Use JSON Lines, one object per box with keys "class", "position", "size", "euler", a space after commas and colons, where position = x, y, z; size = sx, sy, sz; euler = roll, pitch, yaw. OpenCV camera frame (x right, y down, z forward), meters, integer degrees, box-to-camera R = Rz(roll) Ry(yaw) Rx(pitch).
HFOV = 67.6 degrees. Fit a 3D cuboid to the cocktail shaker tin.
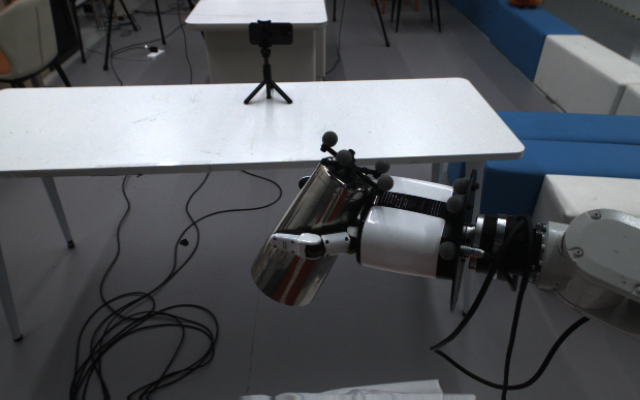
{"class": "cocktail shaker tin", "position": [-0.006, 0.032, 0.582], "size": [0.093, 0.170, 0.093], "euler": [25, 29, -15]}
